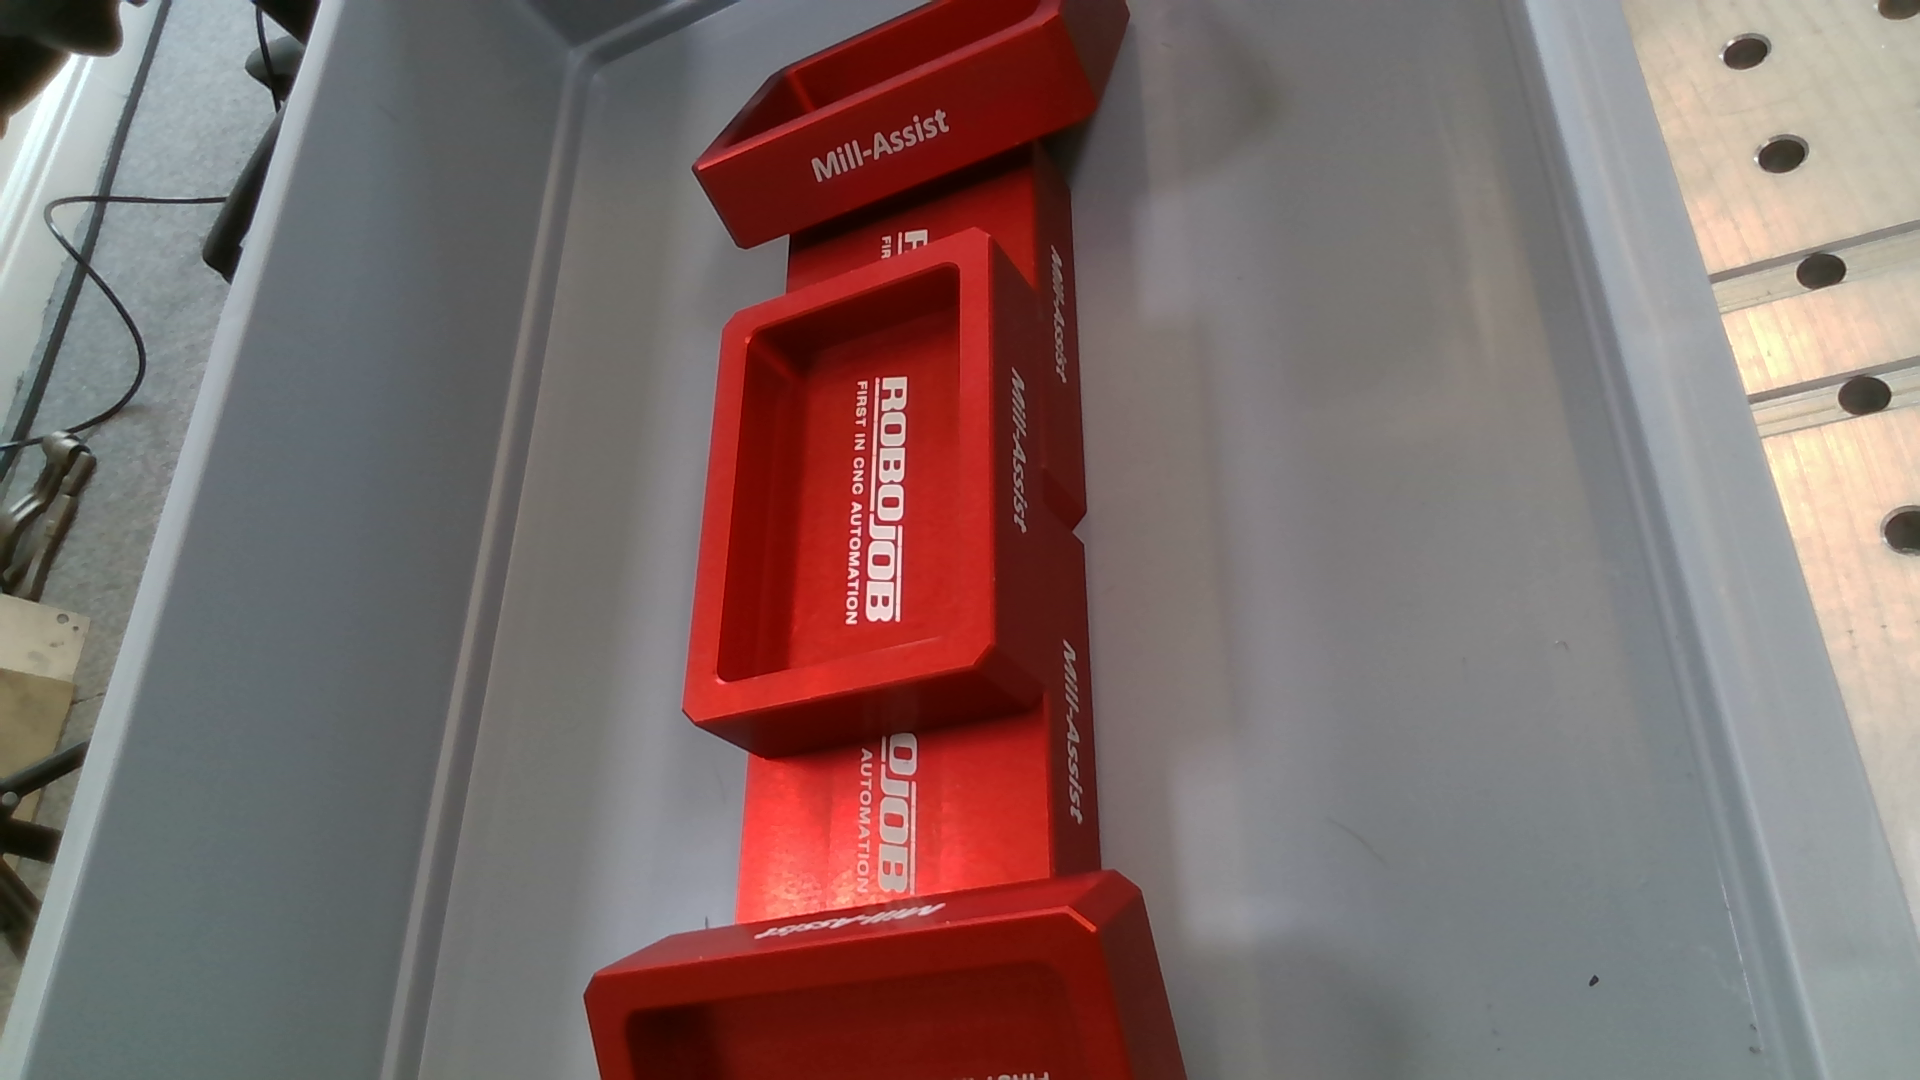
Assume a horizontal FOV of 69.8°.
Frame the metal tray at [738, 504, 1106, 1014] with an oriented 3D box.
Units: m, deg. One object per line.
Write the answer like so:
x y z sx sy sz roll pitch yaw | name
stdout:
-0.011 0.058 0.365 0.090 0.030 0.130 -14 59 25 | metal tray

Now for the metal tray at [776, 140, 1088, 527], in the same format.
-0.010 -0.057 0.426 0.090 0.030 0.130 -14 59 25 | metal tray

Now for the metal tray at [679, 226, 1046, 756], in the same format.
-0.025 -0.014 0.372 0.090 0.030 0.130 -13 59 25 | metal tray

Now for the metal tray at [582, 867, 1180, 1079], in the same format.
-0.016 0.128 0.306 0.130 0.030 0.090 -14 87 25 | metal tray

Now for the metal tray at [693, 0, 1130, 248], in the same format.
-0.014 -0.148 0.452 0.130 0.030 0.090 -14 33 25 | metal tray
